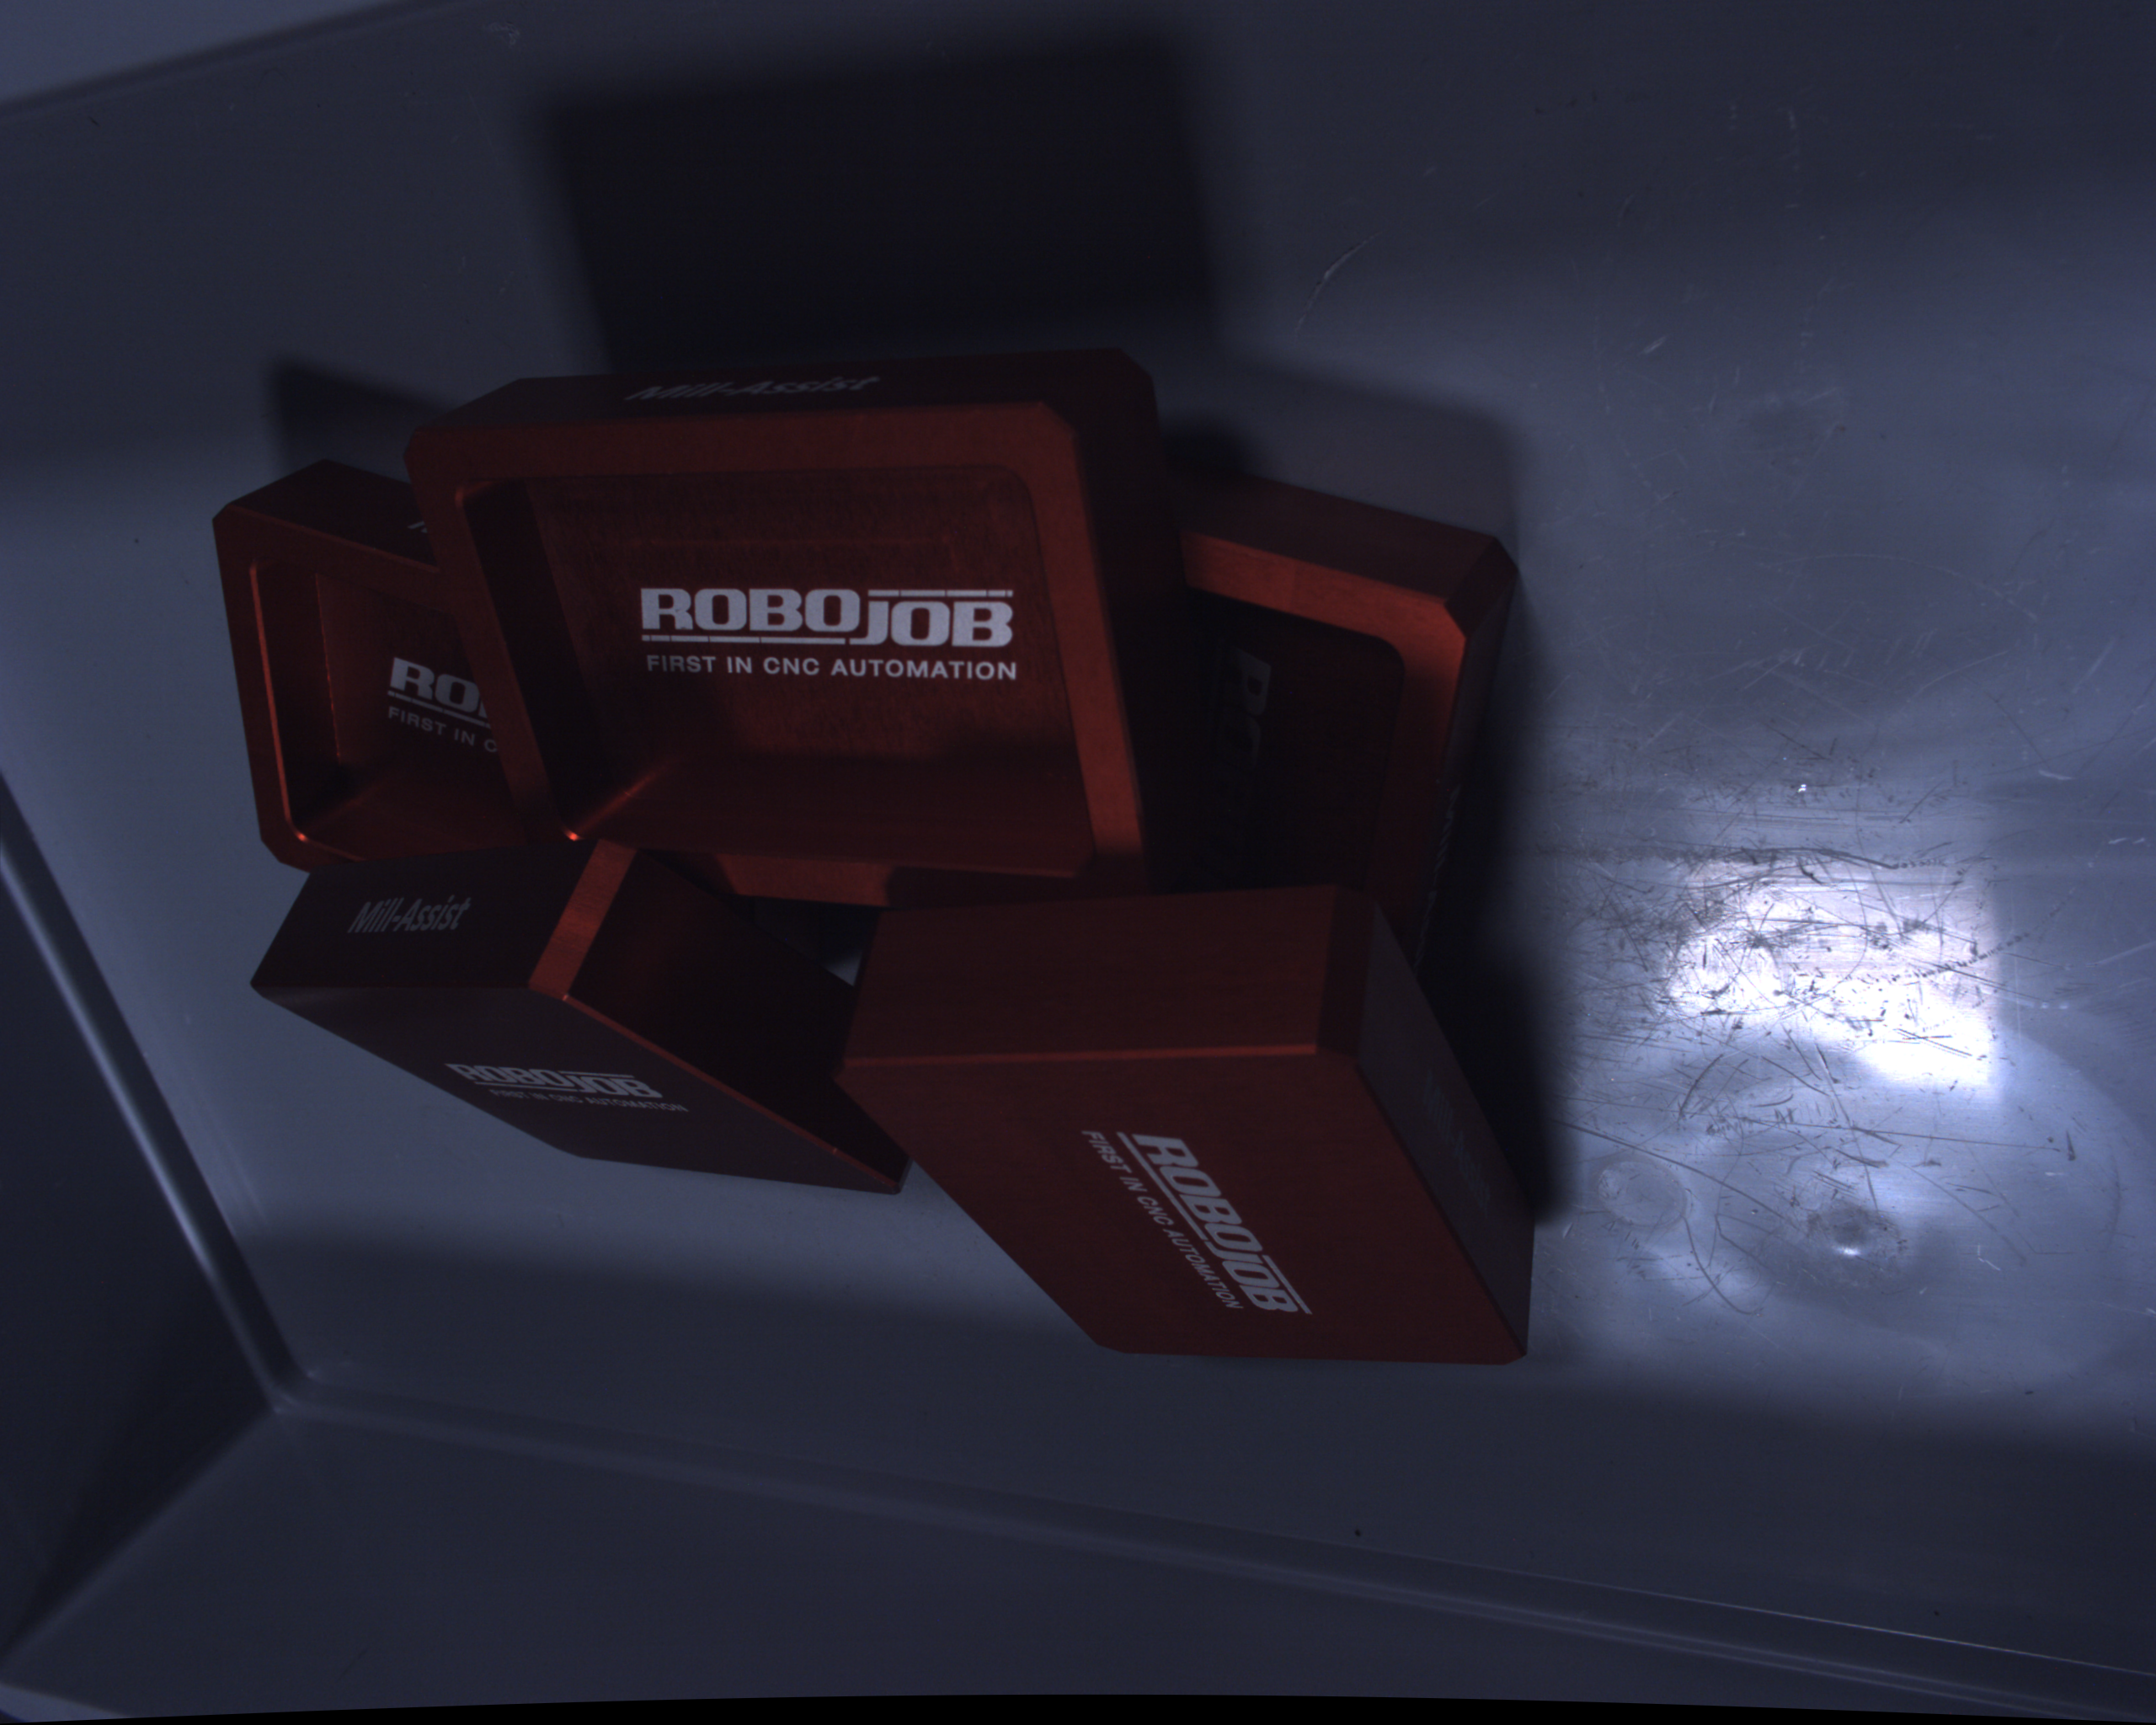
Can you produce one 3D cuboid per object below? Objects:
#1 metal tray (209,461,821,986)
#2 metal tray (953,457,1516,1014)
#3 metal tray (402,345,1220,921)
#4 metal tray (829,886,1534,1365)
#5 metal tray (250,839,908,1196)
[{"bbox_3d":[-0.119,-0.025,0.446,0.130,0.030,0.089,18,126,17],"label":"metal tray"},{"bbox_3d":[0.022,-0.006,0.387,0.090,0.030,0.129,18,125,17],"label":"metal tray"},{"bbox_3d":[-0.046,-0.039,0.363,0.130,0.030,0.089,4,120,26],"label":"metal tray"},{"bbox_3d":[0.025,0.053,0.380,0.090,0.030,0.130,-4,145,23],"label":"metal tray"},{"bbox_3d":[-0.101,0.033,0.431,0.130,0.030,0.090,-3,148,47],"label":"metal tray"}]
